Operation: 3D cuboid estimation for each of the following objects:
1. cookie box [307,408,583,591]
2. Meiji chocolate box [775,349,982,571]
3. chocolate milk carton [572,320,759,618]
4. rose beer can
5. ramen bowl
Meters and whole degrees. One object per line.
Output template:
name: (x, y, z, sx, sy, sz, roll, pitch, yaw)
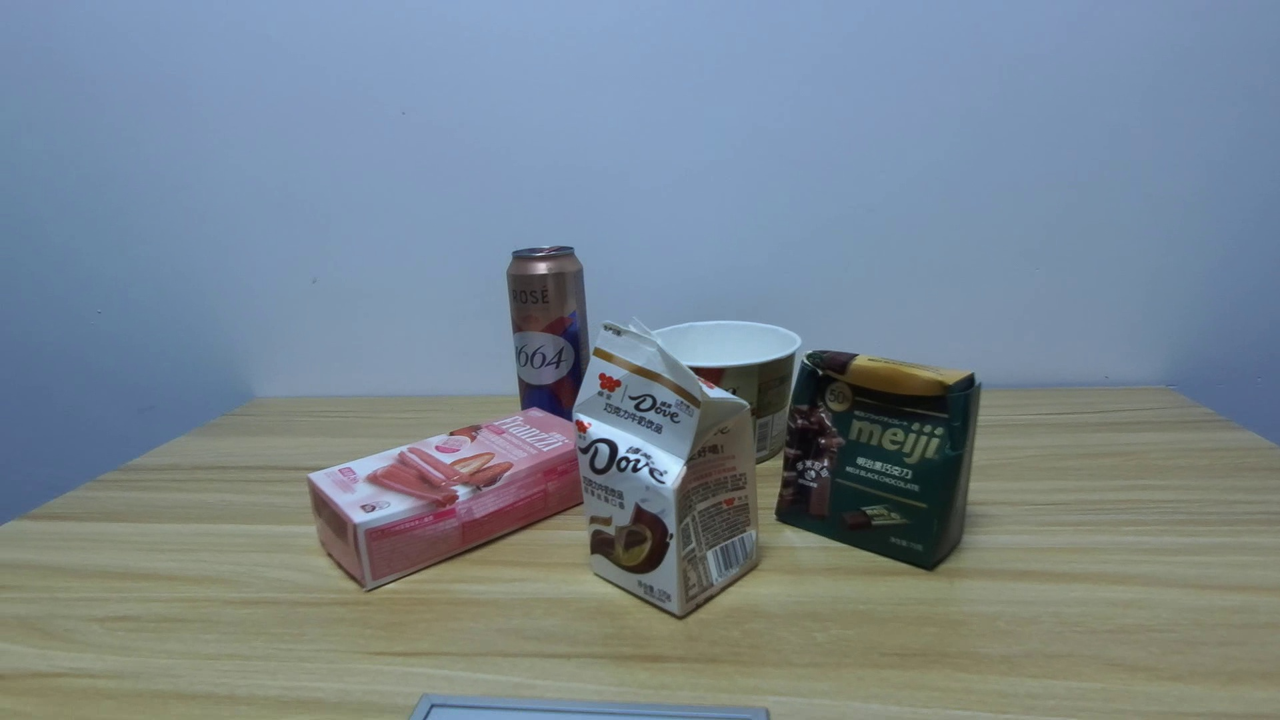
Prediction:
cookie box: (-0.123, 0.090, 0.499, 0.188, 0.049, 0.104, -16, 20, -38)
Meiji chocolate box: (0.148, 0.056, 0.443, 0.116, 0.117, 0.052, 12, 15, 40)
chocolate milk carton: (0.015, 0.053, 0.399, 0.074, 0.155, 0.076, -21, 24, -40)
rose beer can: (-0.079, -0.013, 0.636, 0.068, 0.169, 0.068, -3, 16, 1)
ramen bowl: (0.065, 0.028, 0.590, 0.140, 0.095, 0.140, -4, 17, 2)
